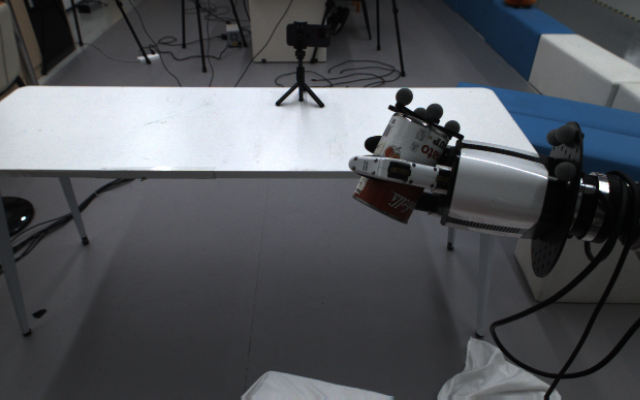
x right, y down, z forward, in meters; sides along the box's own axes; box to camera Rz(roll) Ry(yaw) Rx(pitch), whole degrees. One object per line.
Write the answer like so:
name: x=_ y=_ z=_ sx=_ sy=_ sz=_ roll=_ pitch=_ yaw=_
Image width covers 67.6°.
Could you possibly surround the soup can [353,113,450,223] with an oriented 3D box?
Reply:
soup can: x=0.088 y=-0.034 z=0.521 sx=0.067 sy=0.101 sz=0.067 roll=26 pitch=5 yaw=-3
